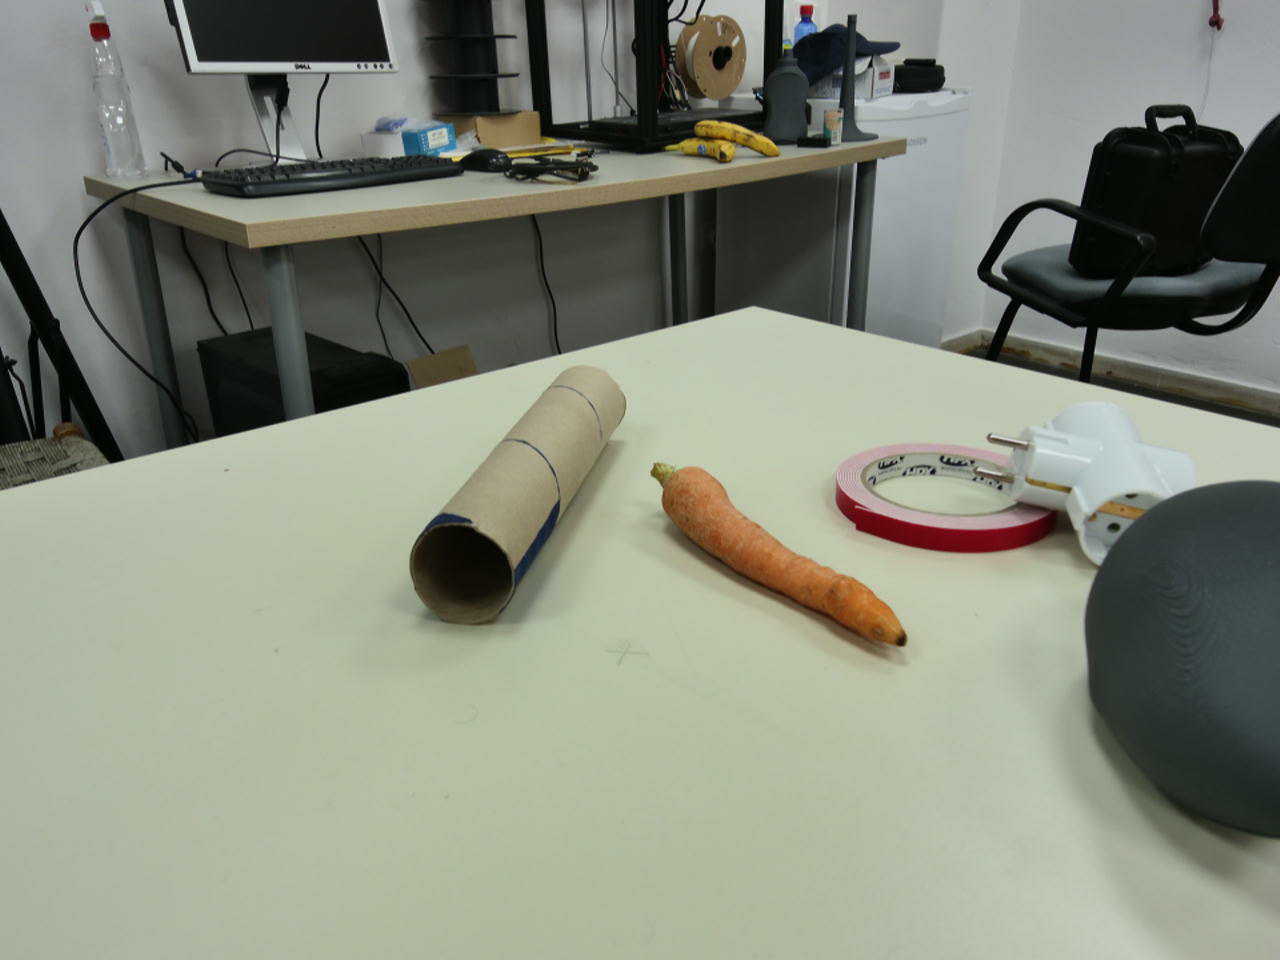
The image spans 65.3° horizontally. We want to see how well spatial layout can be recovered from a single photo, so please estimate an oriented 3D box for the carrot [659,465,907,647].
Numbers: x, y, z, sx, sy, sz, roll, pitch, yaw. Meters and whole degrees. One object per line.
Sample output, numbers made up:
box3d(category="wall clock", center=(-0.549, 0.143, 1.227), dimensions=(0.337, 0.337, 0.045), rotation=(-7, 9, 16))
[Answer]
box3d(category="carrot", center=(0.056, 0.030, 0.453), dimensions=(0.030, 0.032, 0.173), rotation=(-12, 24, -27))
